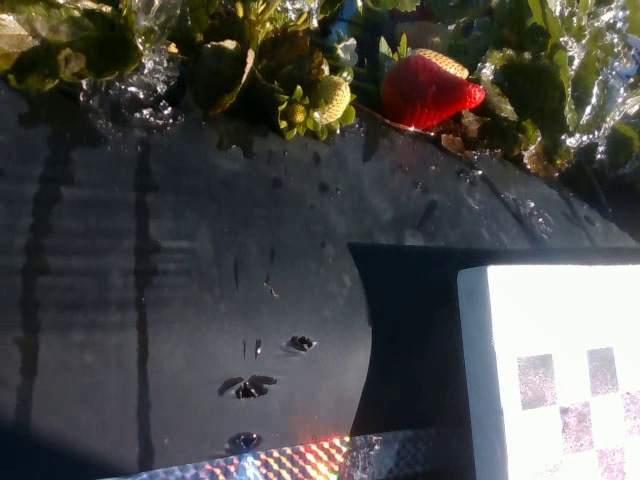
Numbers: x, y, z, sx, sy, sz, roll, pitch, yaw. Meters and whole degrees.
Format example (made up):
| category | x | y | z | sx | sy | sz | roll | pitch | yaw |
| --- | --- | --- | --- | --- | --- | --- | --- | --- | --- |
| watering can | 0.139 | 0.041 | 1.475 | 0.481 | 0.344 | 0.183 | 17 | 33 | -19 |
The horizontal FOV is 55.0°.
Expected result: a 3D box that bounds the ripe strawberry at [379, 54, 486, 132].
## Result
| category | x | y | z | sx | sy | sz | roll | pitch | yaw |
| --- | --- | --- | --- | --- | --- | --- | --- | --- | --- |
| ripe strawberry | 0.054 | -0.069 | 0.291 | 0.053 | 0.042 | 0.040 | 15 | 44 | 40 |
